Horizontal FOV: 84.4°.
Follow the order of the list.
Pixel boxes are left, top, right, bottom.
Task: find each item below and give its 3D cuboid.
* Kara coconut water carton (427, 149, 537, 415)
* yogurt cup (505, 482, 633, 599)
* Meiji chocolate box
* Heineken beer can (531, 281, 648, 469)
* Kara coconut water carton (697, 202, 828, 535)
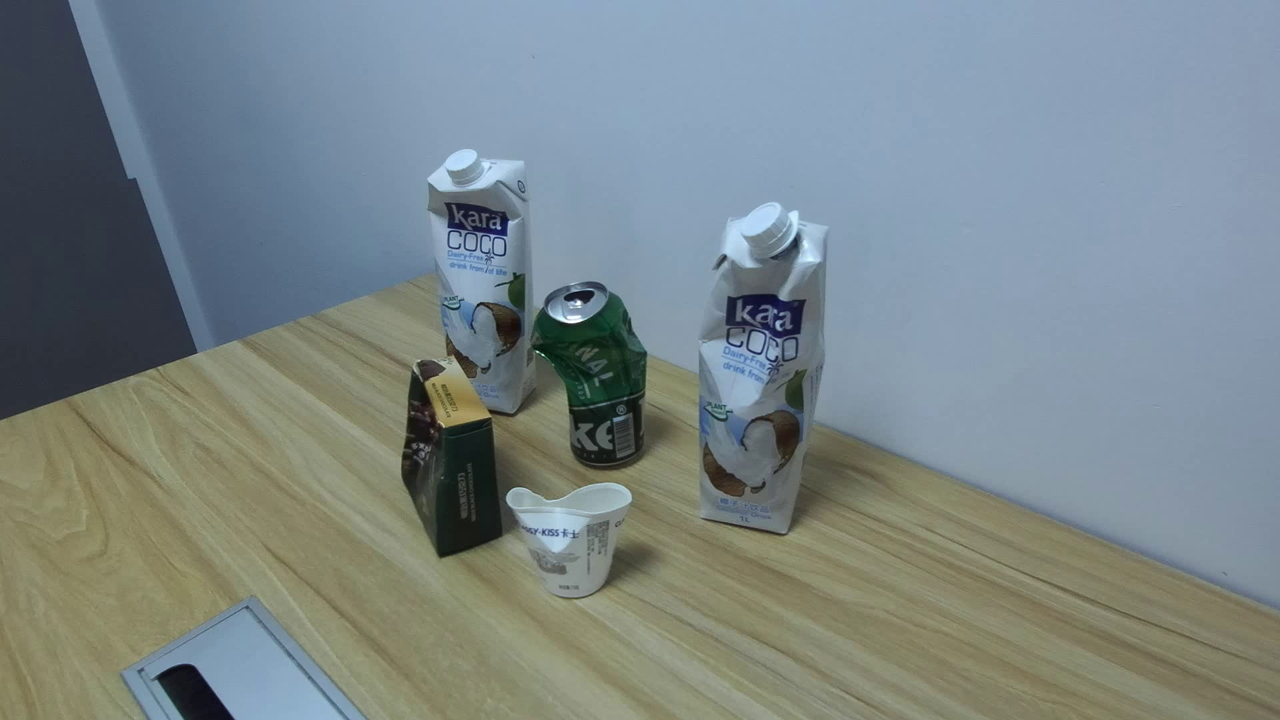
[{"bbox_3d":[-0.142,-0.072,0.660,0.099,0.244,0.071,5,28,13],"label":"Kara coconut water carton"},{"bbox_3d":[-0.047,0.120,0.494,0.076,0.071,0.053,-15,33,-22],"label":"yogurt cup"},{"bbox_3d":[-0.152,0.070,0.550,0.058,0.111,0.112,-11,31,-29],"label":"Meiji chocolate box"},{"bbox_3d":[-0.035,0.014,0.600,0.067,0.159,0.079,21,42,39],"label":"Heineken beer can"},{"bbox_3d":[0.085,0.007,0.507,0.083,0.256,0.078,16,35,26],"label":"Kara coconut water carton"}]
